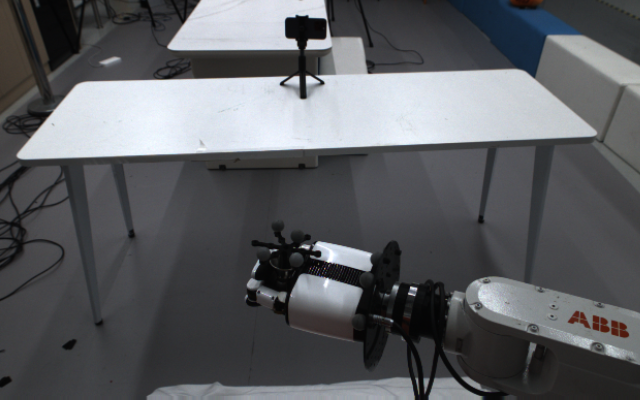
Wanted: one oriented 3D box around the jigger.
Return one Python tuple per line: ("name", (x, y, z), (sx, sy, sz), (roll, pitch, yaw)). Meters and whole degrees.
("jigger", (-0.045, 0.107, 0.628), (0.043, 0.071, 0.043), (6, 26, -3))
